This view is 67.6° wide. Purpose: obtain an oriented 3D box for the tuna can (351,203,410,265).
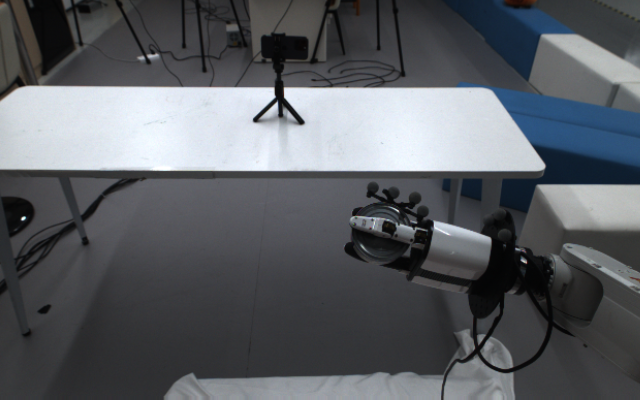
[{"bbox_3d":[0.088,0.046,0.690,0.085,0.034,0.085,0,72,0],"label":"tuna can"}]
